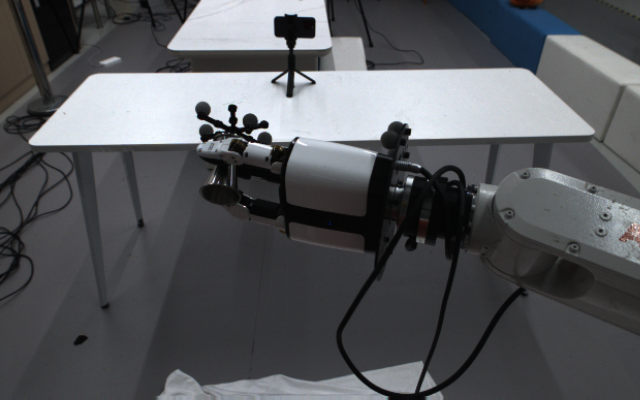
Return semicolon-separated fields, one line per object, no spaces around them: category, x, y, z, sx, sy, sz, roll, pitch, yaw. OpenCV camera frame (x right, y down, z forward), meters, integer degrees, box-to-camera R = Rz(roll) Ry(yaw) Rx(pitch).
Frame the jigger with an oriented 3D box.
jigger;-0.103;-0.036;0.526;0.043;0.043;0.071;4;60;3
